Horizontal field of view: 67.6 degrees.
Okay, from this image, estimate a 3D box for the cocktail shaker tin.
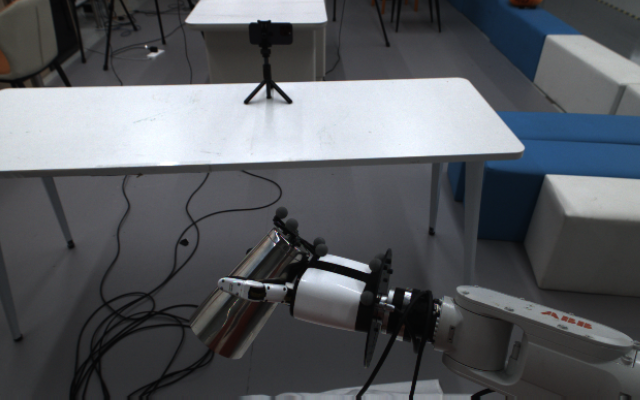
[{"bbox_3d":[-0.090,0.120,0.670,0.170,0.093,0.093,-50,47,3],"label":"cocktail shaker tin"}]
